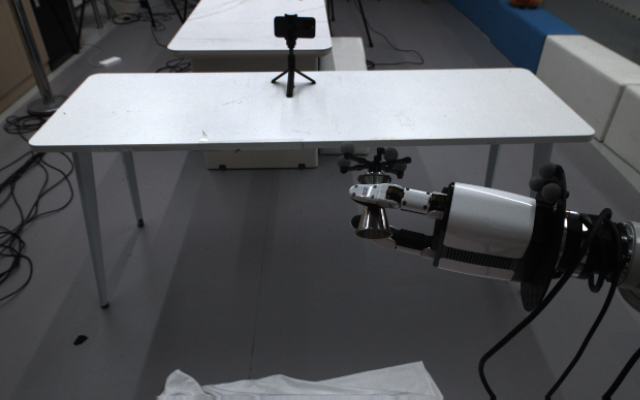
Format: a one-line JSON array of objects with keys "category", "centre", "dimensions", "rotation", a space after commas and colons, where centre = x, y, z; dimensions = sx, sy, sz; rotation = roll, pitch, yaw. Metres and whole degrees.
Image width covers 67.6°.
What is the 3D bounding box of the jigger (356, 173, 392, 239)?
[{"category": "jigger", "centre": [0.061, 0.005, 0.558], "dimensions": [0.043, 0.043, 0.071], "rotation": [3, 72, 1]}]
